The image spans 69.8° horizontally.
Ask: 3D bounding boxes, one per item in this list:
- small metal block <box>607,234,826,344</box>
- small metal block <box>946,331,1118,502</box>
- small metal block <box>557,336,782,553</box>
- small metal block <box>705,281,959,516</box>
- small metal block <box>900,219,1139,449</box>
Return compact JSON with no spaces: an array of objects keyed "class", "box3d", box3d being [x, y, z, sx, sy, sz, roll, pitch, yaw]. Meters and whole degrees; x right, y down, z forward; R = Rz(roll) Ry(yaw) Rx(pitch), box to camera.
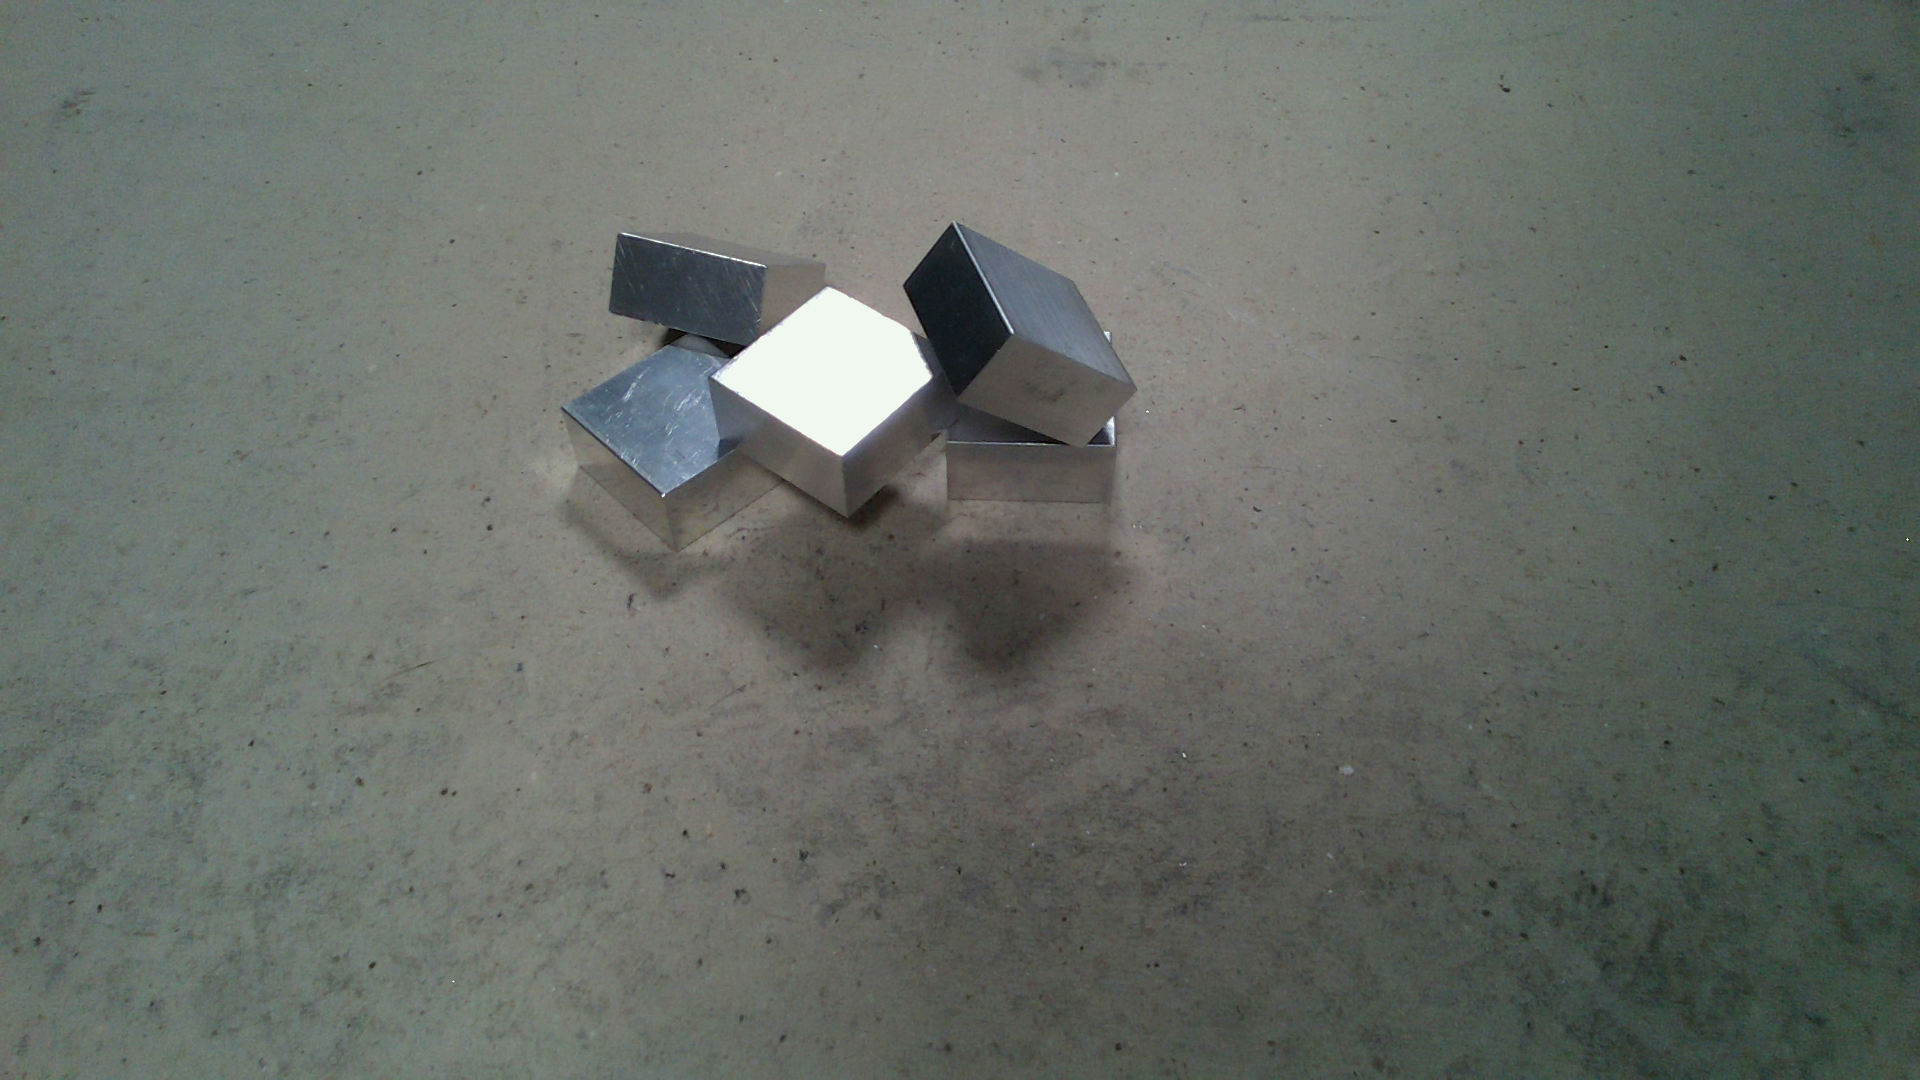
[{"class":"small metal block","box3d":[-0.078,-0.081,0.445,0.050,0.025,0.050,15,15,12]},{"class":"small metal block","box3d":[0.022,-0.039,0.425,0.050,0.025,0.050,1,50,1]},{"class":"small metal block","box3d":[-0.084,-0.031,0.418,0.050,0.025,0.050,-37,59,-27]},{"class":"small metal block","box3d":[-0.035,-0.042,0.393,0.050,0.025,0.050,31,56,23]},{"class":"small metal block","box3d":[0.017,-0.058,0.392,0.050,0.025,0.050,17,37,-40]}]
